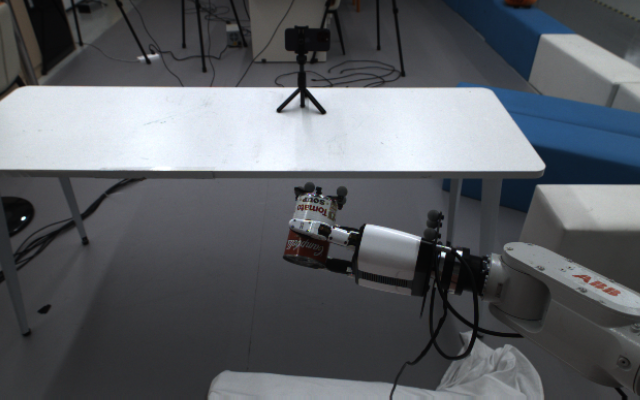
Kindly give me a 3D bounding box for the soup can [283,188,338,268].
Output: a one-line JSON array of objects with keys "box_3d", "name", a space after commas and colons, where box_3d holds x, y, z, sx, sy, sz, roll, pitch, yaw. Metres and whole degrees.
[{"box_3d": [-0.013, 0.047, 0.748, 0.067, 0.067, 0.101, 9, 72, 10], "name": "soup can"}]
